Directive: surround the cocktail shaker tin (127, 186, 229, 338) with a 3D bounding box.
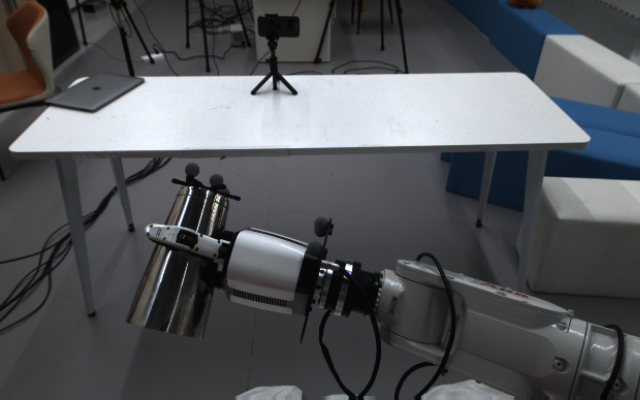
[{"bbox_3d":[-0.166,0.076,0.593,0.093,0.093,0.170,10,74,11],"label":"cocktail shaker tin"}]
